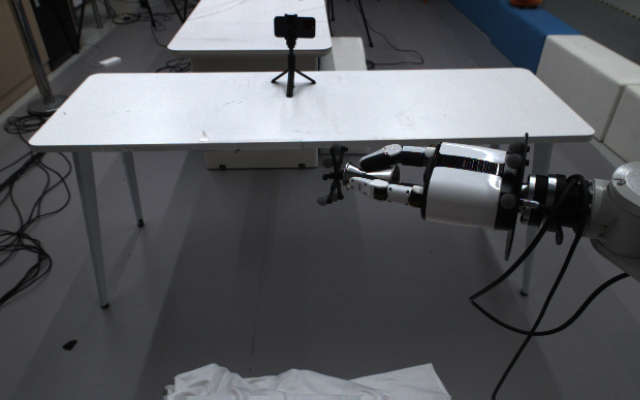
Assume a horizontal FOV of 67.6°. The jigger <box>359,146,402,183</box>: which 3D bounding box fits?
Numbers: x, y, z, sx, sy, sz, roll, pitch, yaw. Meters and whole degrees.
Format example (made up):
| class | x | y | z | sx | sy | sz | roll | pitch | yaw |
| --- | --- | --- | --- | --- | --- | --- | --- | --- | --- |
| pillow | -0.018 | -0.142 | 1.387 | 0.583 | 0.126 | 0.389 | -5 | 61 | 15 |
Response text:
| class | x | y | z | sx | sy | sz | roll | pitch | yaw |
| --- | --- | --- | --- | --- | --- | --- | --- | --- | --- |
| jigger | 0.075 | -0.033 | 0.659 | 0.071 | 0.043 | 0.043 | 8 | 34 | 23 |
